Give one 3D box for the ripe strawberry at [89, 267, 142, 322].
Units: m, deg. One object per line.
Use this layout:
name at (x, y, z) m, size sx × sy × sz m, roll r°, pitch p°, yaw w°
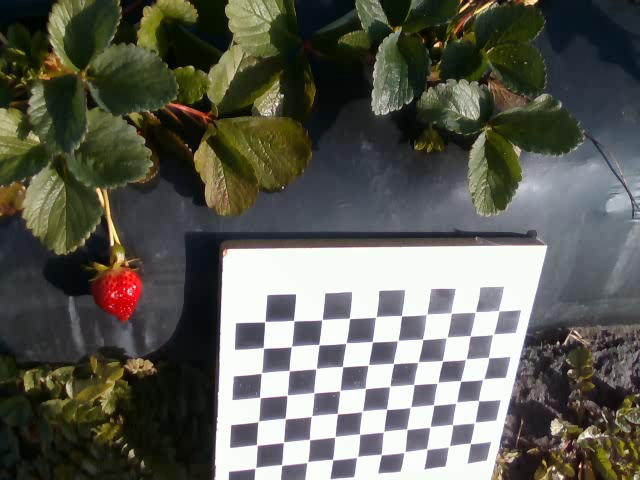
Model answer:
ripe strawberry at (-0.143, 0.039, 0.413) m, size 0.040 × 0.044 × 0.036 m, roll -18°, pitch 11°, yaw -8°
